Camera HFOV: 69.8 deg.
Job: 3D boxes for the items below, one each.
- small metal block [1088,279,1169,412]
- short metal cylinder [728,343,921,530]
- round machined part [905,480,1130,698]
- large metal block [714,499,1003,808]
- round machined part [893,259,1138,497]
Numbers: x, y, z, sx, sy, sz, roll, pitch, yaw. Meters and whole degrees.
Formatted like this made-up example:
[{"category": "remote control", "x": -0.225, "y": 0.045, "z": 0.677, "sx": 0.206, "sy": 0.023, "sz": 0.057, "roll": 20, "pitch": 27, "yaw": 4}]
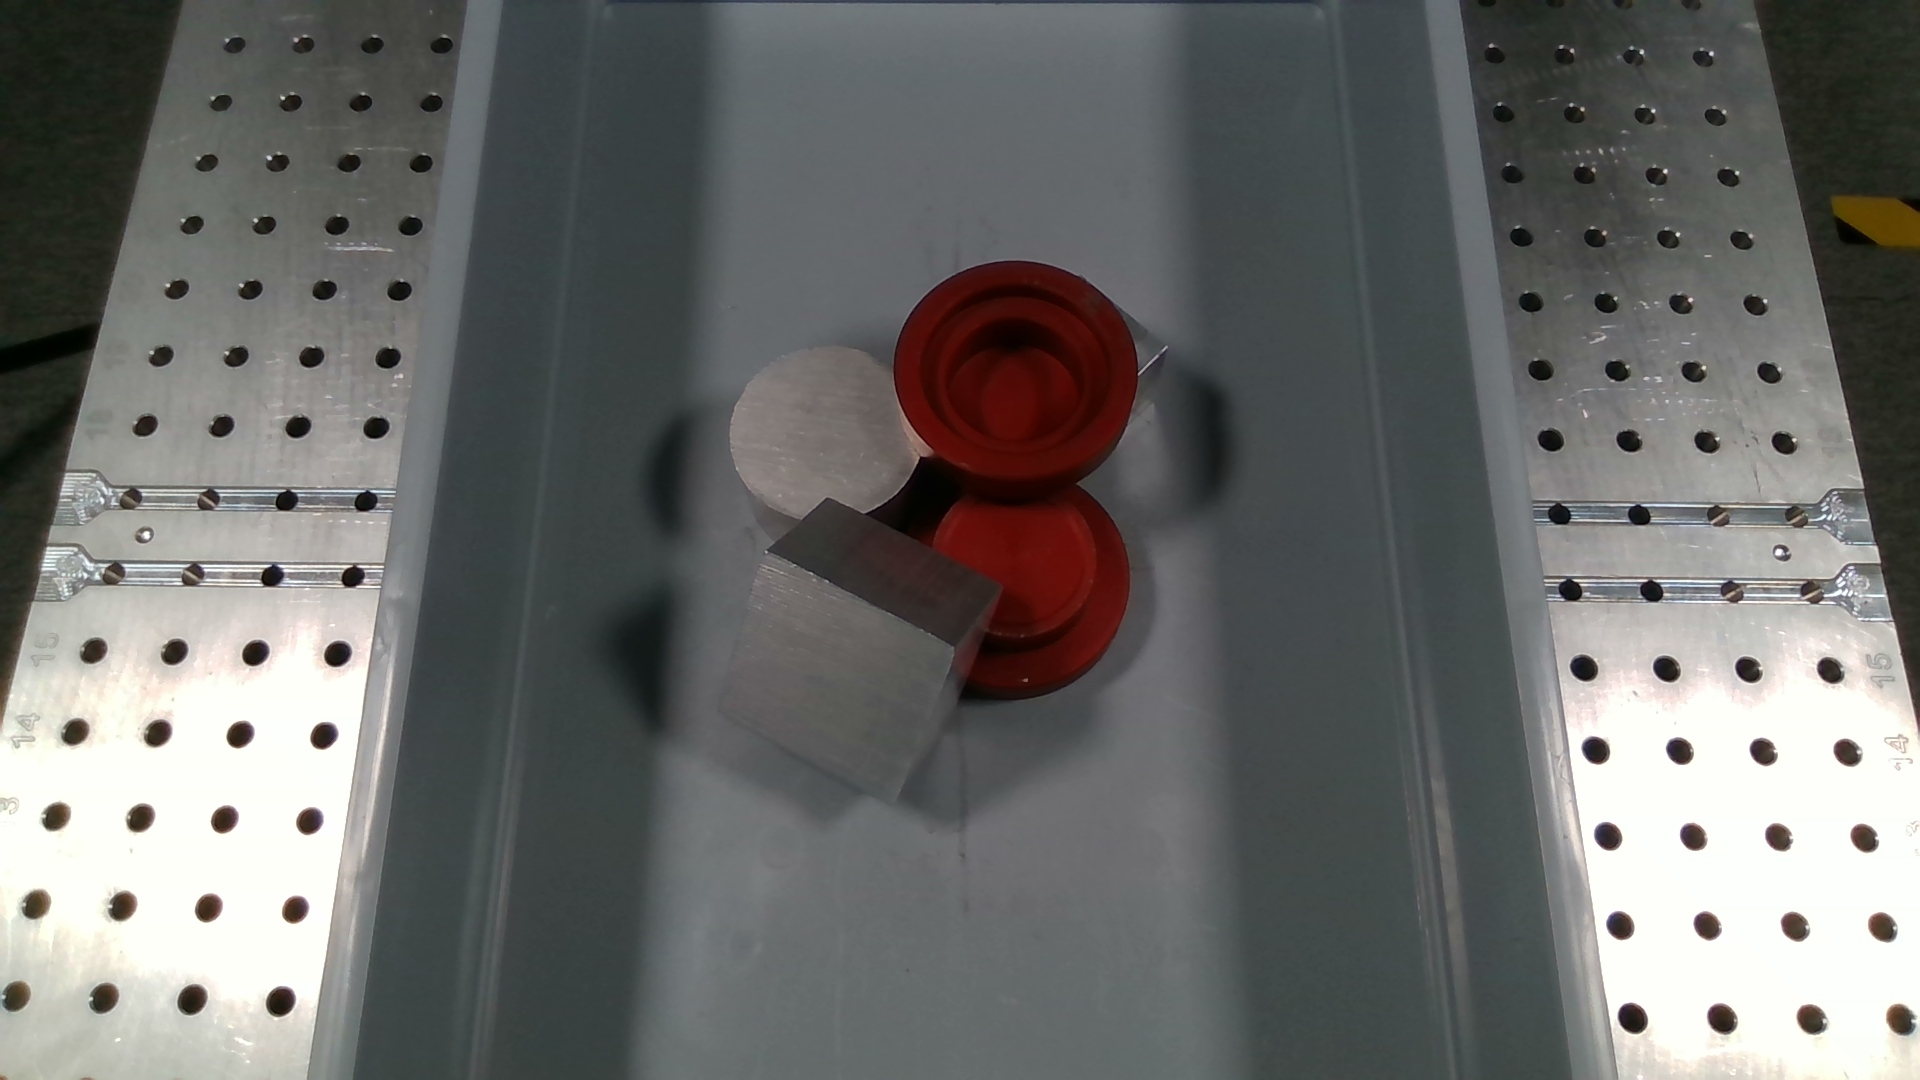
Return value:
[{"category": "small metal block", "x": 0.061, "y": -0.081, "z": 0.602, "sx": 0.050, "sy": 0.050, "sz": 0.025, "roll": 42, "pitch": 75, "yaw": 14}, {"category": "short metal cylinder", "x": -0.055, "y": -0.036, "z": 0.586, "sx": 0.080, "sy": 0.050, "sz": 0.080, "roll": 0, "pitch": 70, "yaw": 0}, {"category": "round machined part", "x": 0.021, "y": 0.013, "z": 0.571, "sx": 0.098, "sy": 0.042, "sz": 0.098, "roll": 0, "pitch": 70, "yaw": 0}, {"category": "large metal block", "x": -0.040, "y": 0.043, "z": 0.535, "sx": 0.080, "sy": 0.080, "sz": 0.050, "roll": 27, "pitch": 32, "yaw": 9}, {"category": "round machined part", "x": 0.022, "y": -0.063, "z": 0.569, "sx": 0.098, "sy": 0.042, "sz": 0.098, "roll": 0, "pitch": 70, "yaw": 0}]
